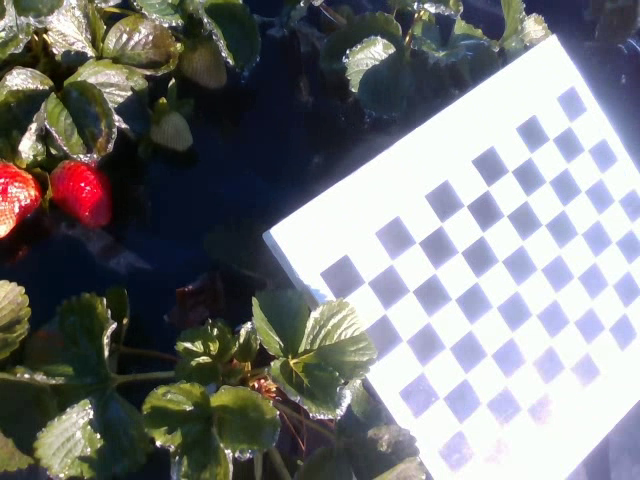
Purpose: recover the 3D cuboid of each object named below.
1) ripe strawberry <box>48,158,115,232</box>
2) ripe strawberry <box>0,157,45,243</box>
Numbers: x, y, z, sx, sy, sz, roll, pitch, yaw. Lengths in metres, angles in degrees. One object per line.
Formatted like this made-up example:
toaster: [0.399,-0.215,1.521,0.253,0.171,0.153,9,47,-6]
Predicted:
ripe strawberry: [-0.182,-0.038,0.501,0.043,0.059,0.040,-35,-2,-19]
ripe strawberry: [-0.235,-0.029,0.493,0.052,0.070,0.040,15,-20,-22]
